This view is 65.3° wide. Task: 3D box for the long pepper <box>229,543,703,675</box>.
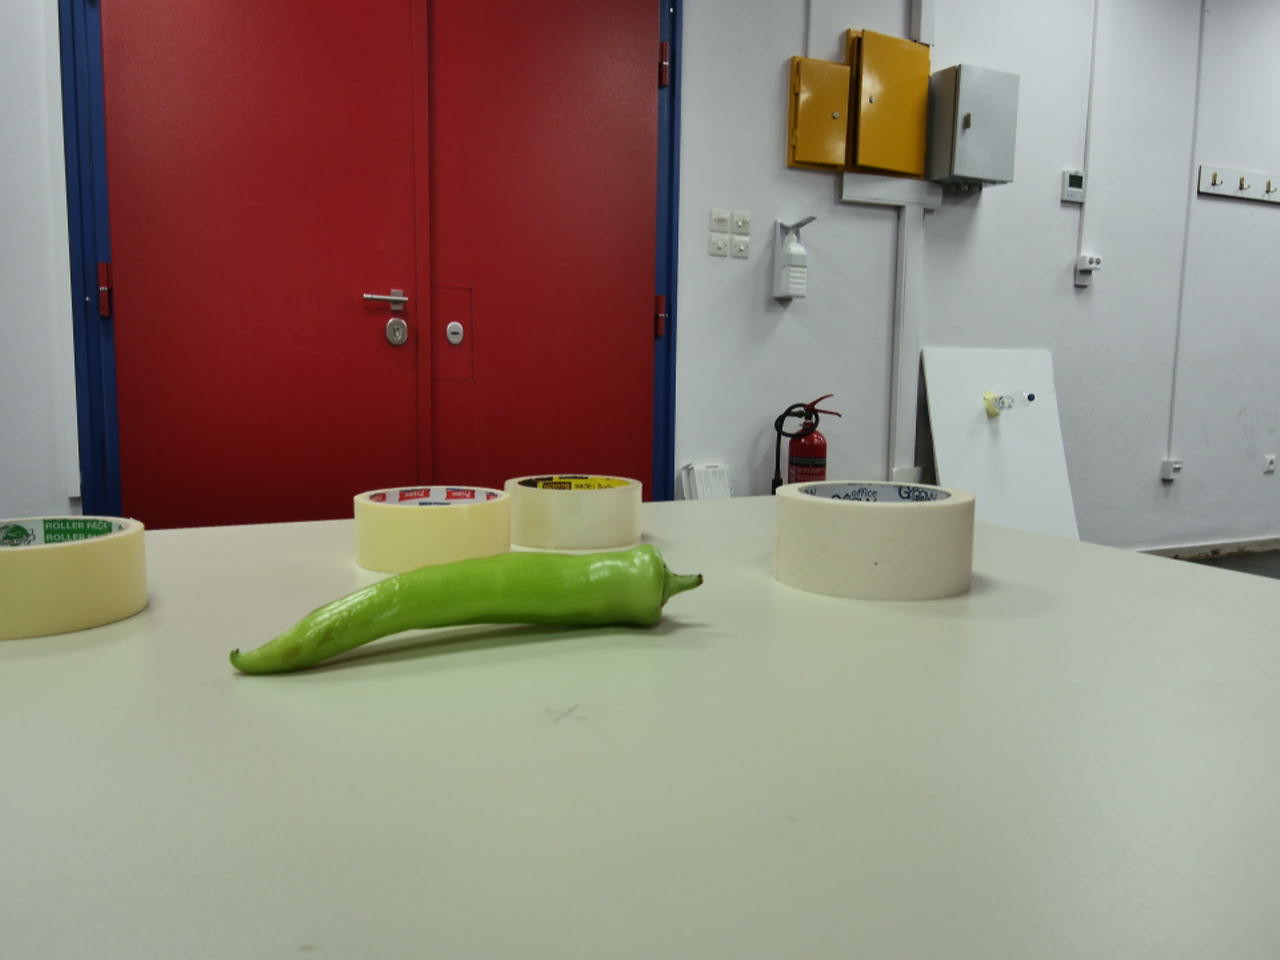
[{"bbox_3d":[-0.068,0.050,0.421,0.197,0.038,0.047,-2,4,-24],"label":"long pepper"}]
